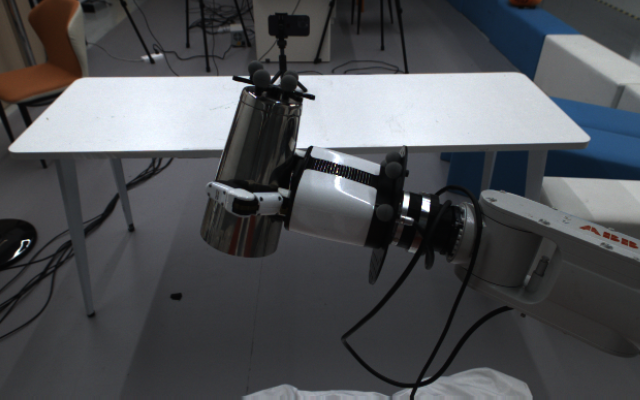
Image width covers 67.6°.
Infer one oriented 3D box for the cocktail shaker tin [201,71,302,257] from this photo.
[{"bbox_3d":[-0.070,-0.032,0.538,0.093,0.170,0.093,15,19,-5],"label":"cocktail shaker tin"}]
